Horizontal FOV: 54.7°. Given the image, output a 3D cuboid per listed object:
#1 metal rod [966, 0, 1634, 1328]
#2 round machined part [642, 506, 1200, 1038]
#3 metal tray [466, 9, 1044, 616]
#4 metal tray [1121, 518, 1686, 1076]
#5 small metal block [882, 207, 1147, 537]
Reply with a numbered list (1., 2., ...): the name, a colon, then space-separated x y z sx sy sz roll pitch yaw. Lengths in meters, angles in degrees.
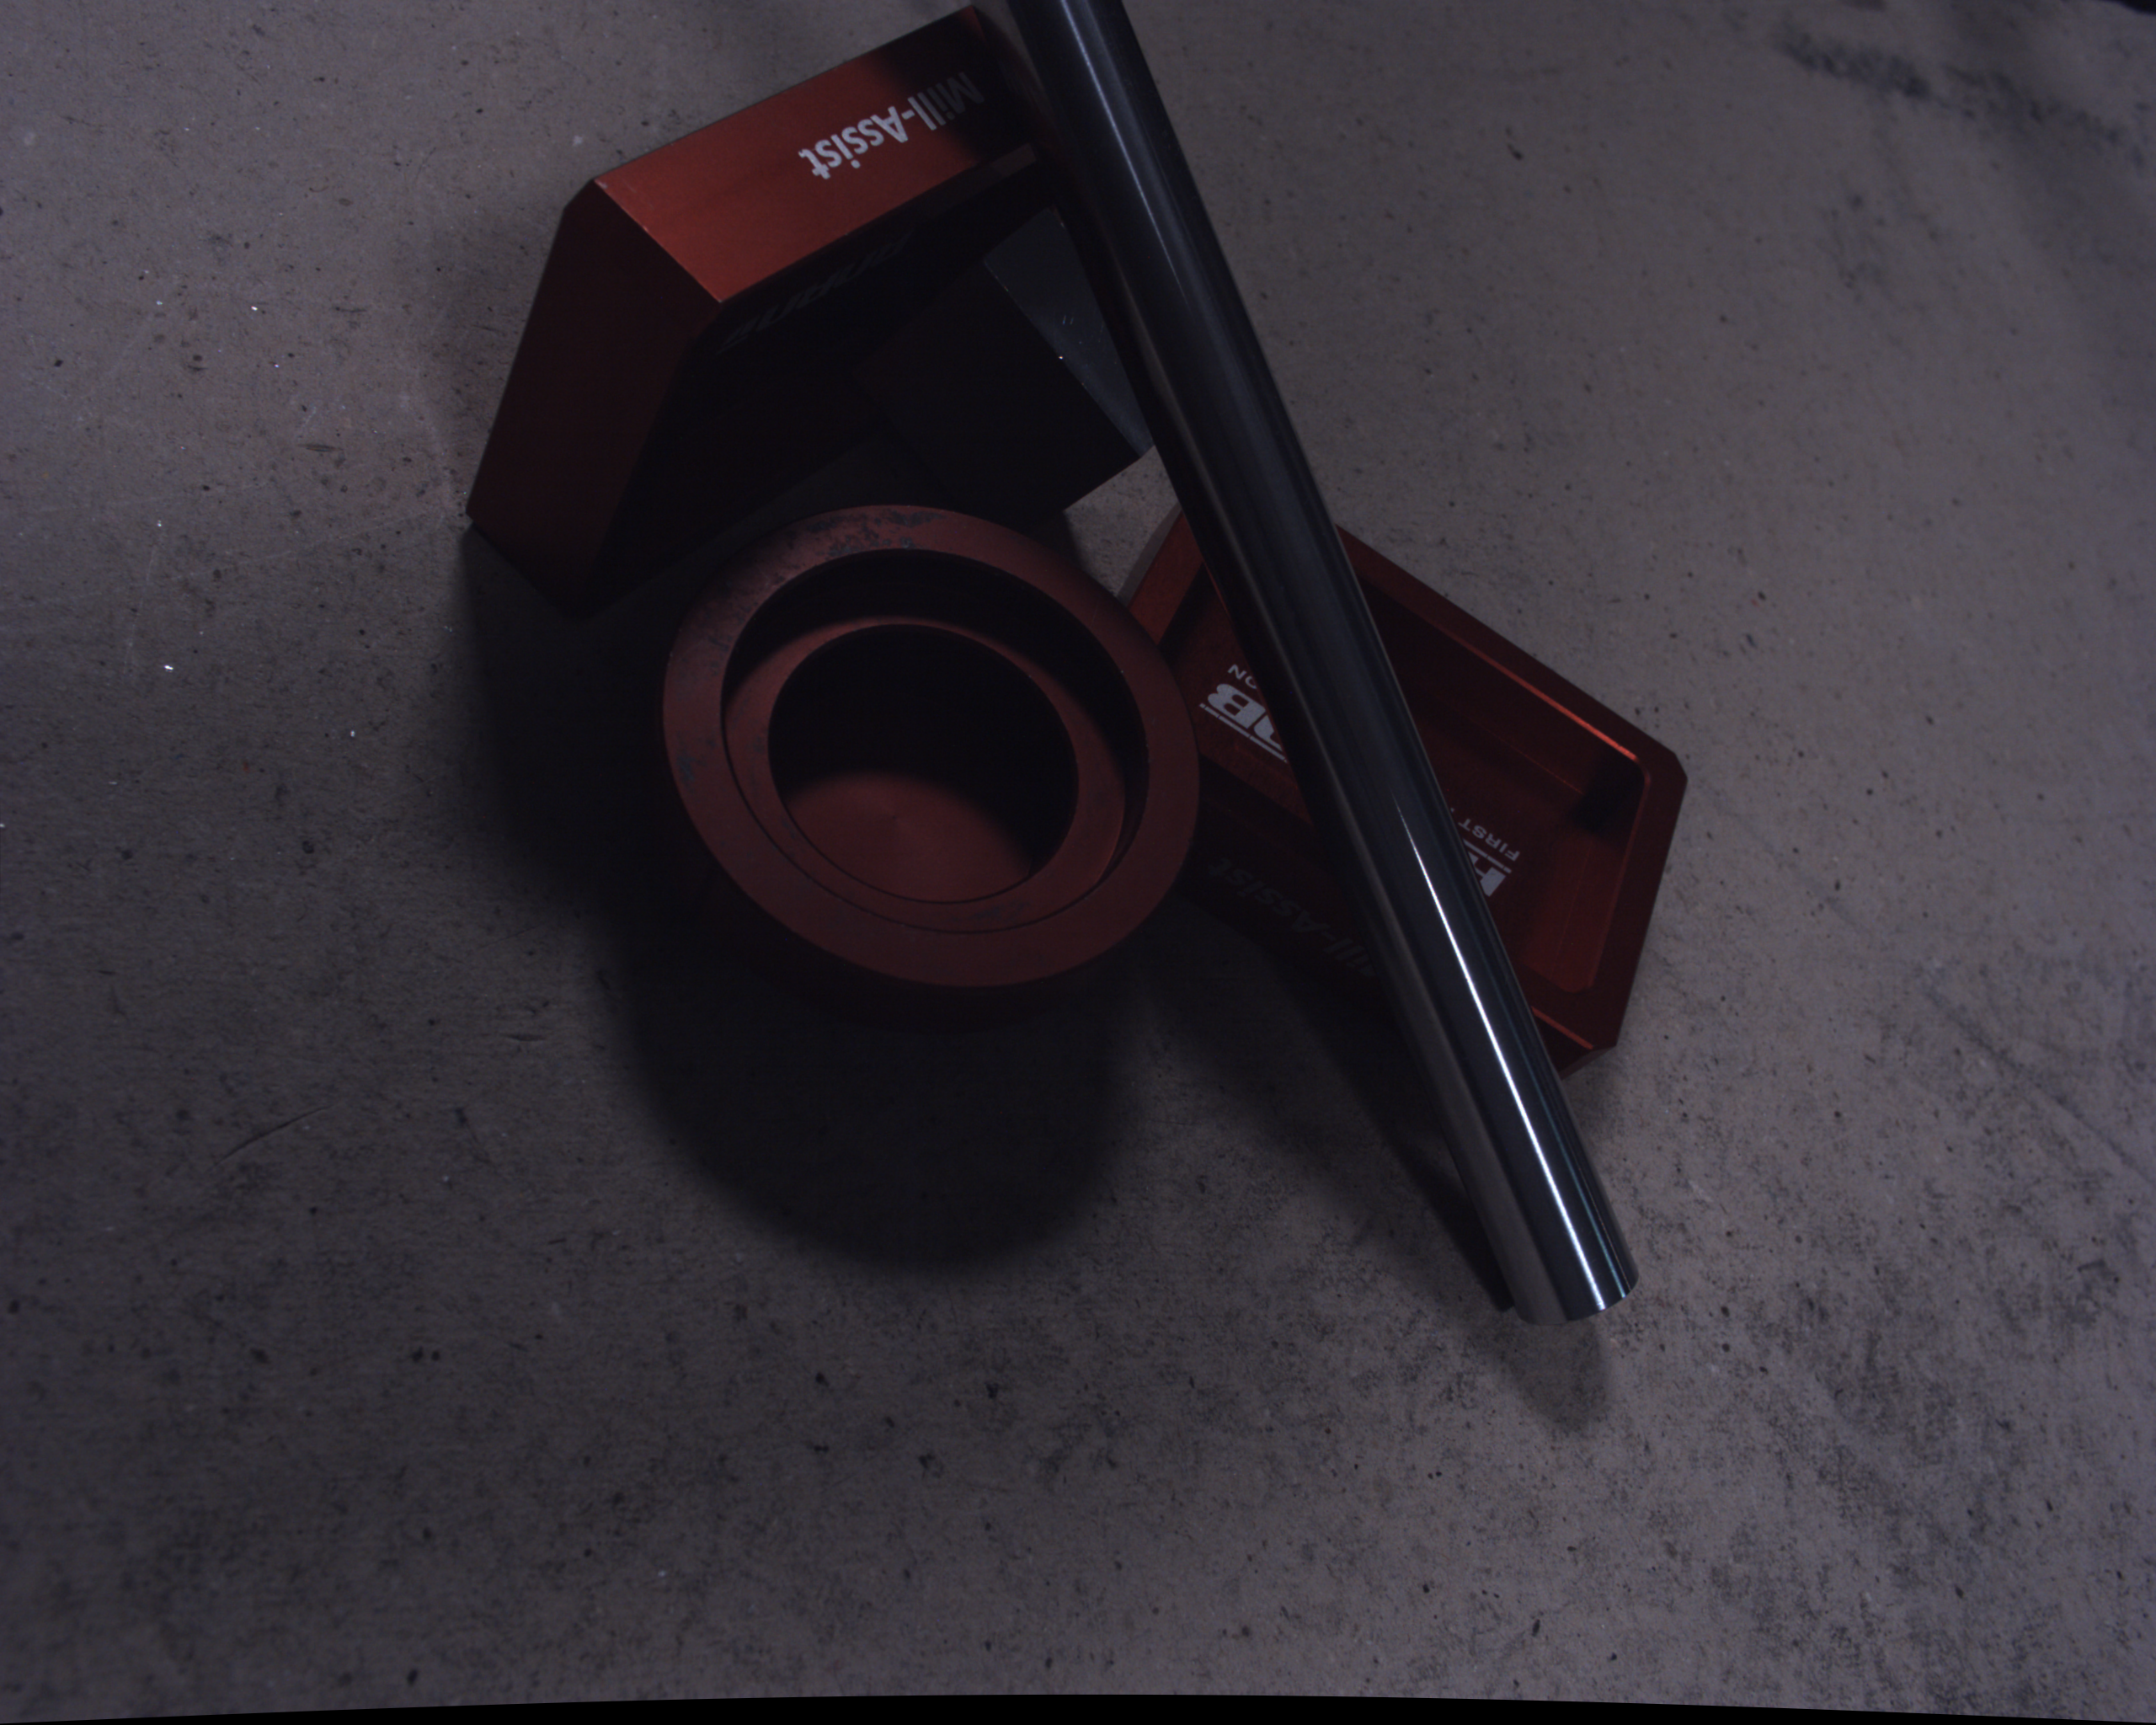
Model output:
1. metal rod: 0.039 -0.051 0.390 0.025 0.025 0.299 -30 100 -38
2. round machined part: -0.031 -0.013 0.382 0.099 0.042 0.098 9 62 -18
3. metal tray: -0.052 -0.110 0.403 0.030 0.090 0.131 45 51 2
4. metal tray: 0.063 -0.019 0.449 0.130 0.030 0.090 33 51 -7
5. small metal block: -0.012 -0.100 0.439 0.050 0.050 0.025 49 52 -13
